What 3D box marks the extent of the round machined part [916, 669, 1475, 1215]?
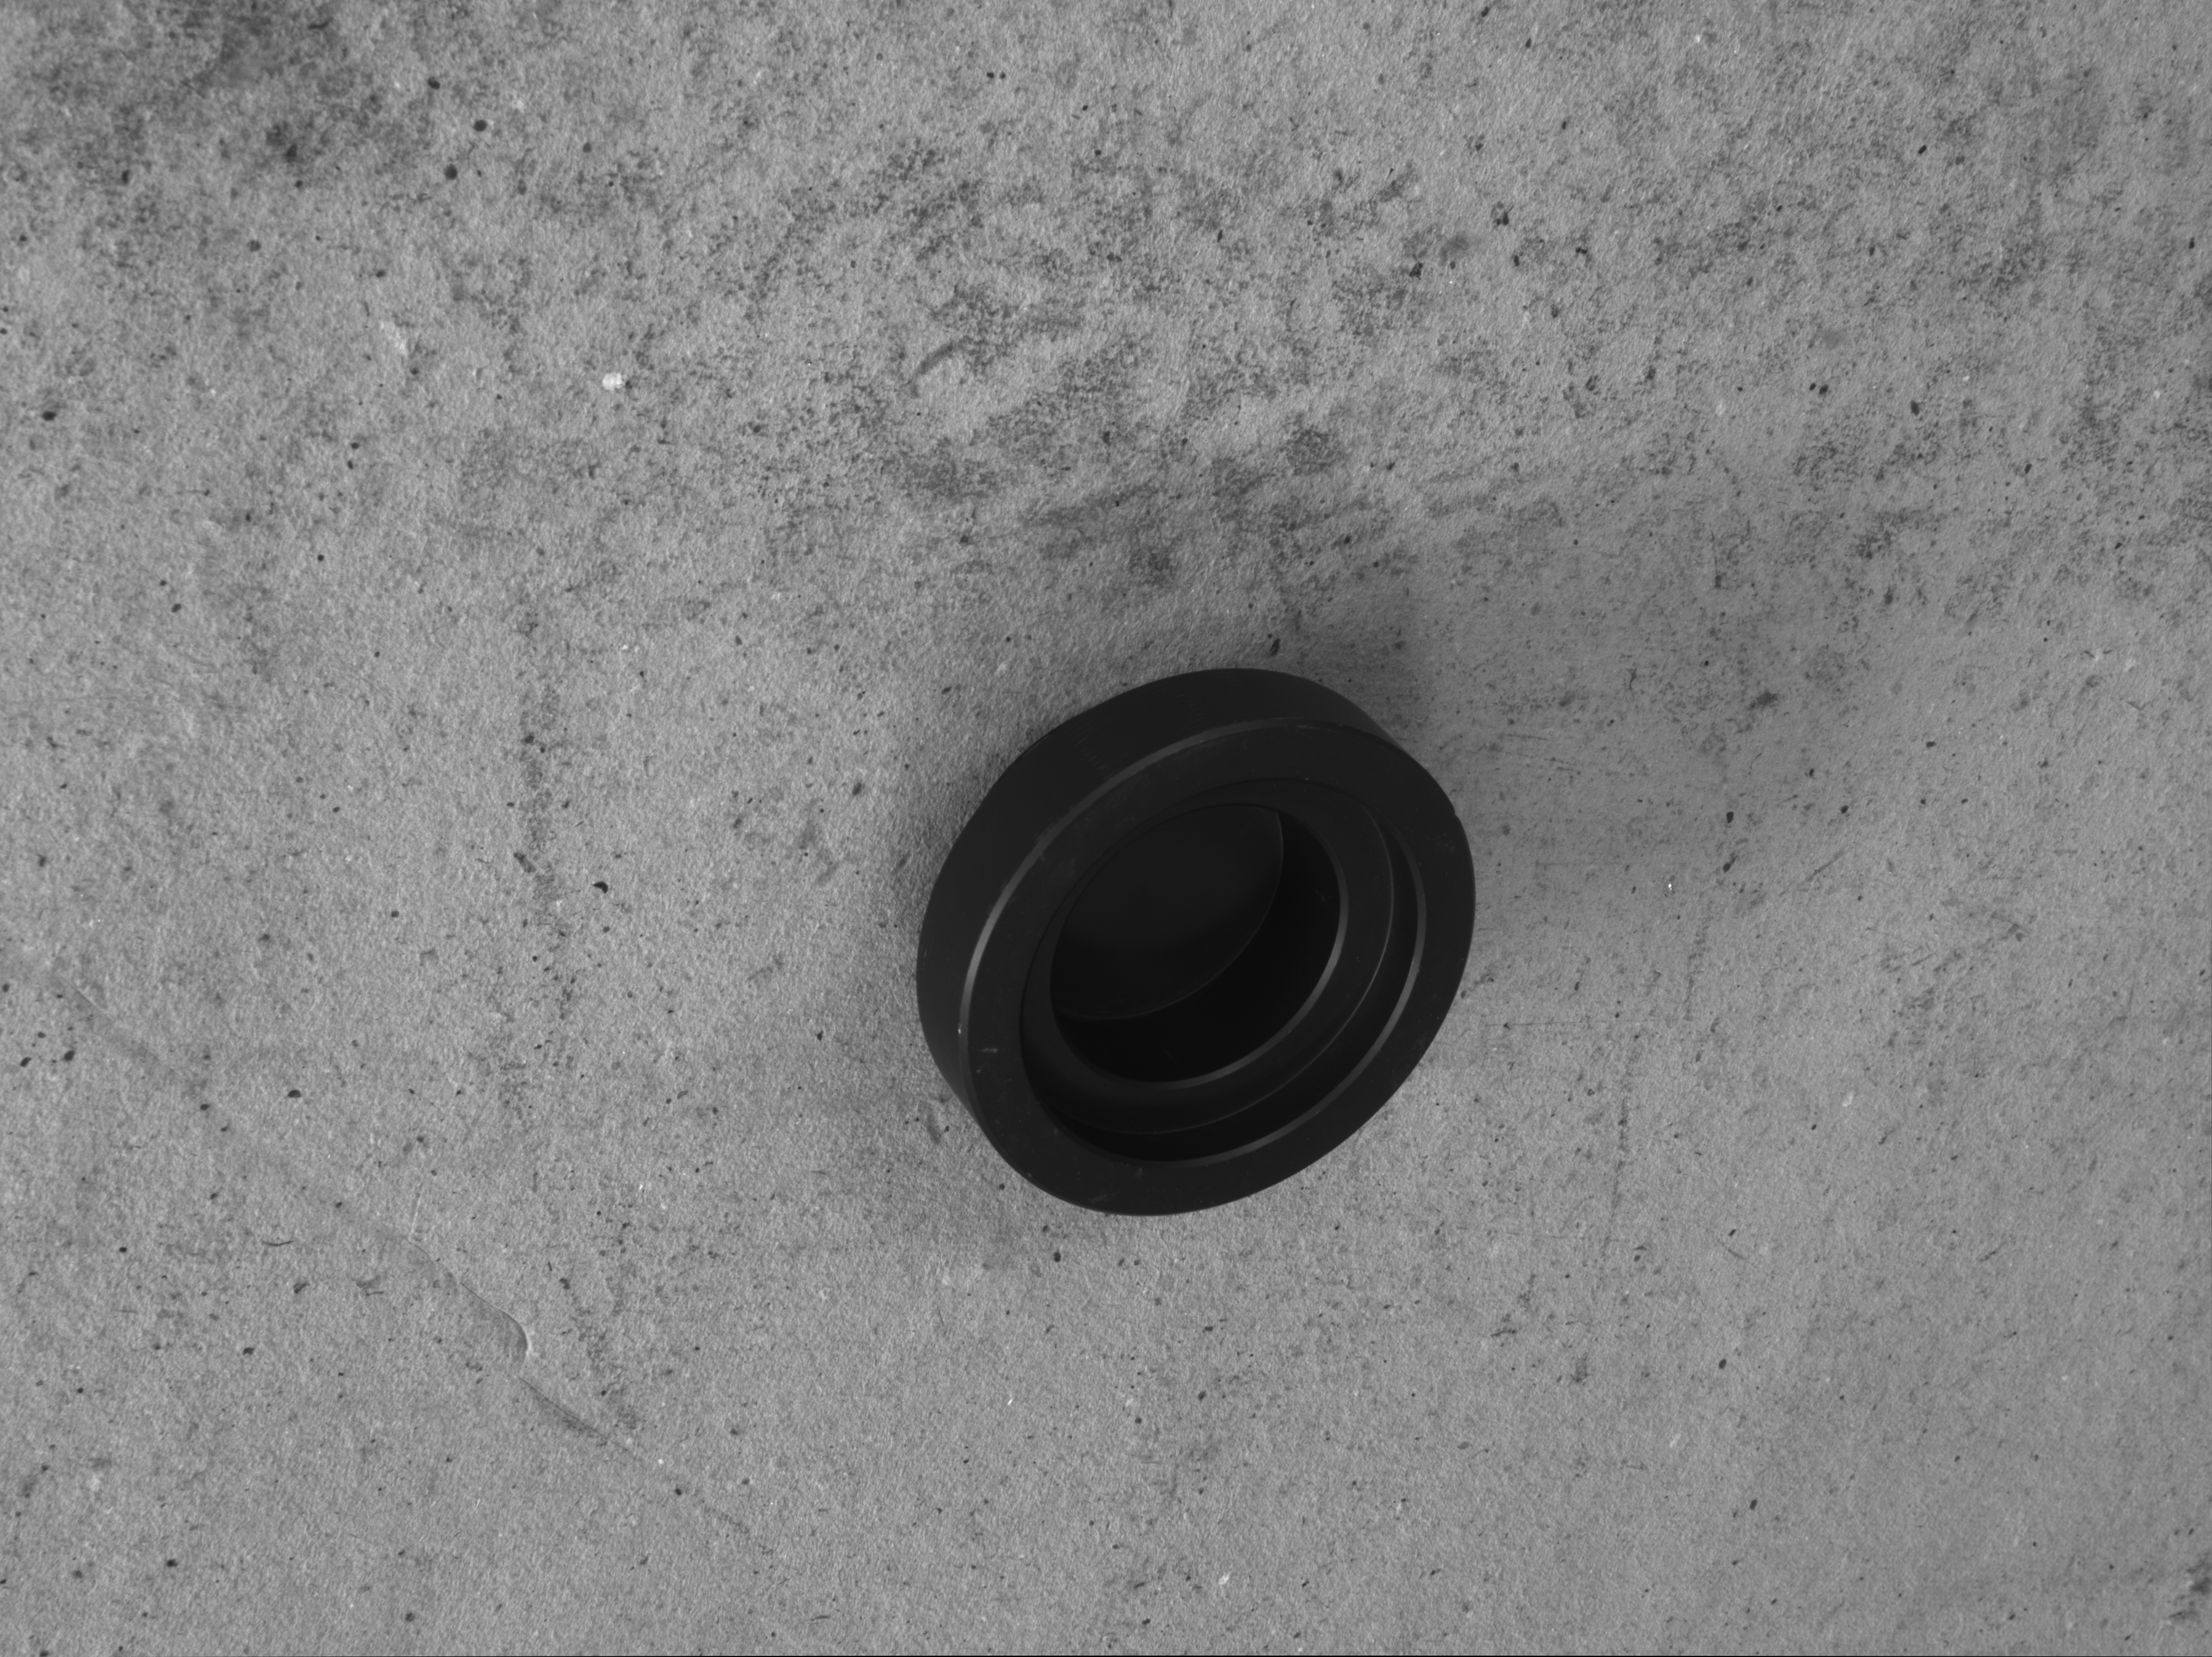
[{"bbox_3d":[0.012,0.016,0.643,0.098,0.042,0.098,-13,124,-21],"label":"round machined part"}]
